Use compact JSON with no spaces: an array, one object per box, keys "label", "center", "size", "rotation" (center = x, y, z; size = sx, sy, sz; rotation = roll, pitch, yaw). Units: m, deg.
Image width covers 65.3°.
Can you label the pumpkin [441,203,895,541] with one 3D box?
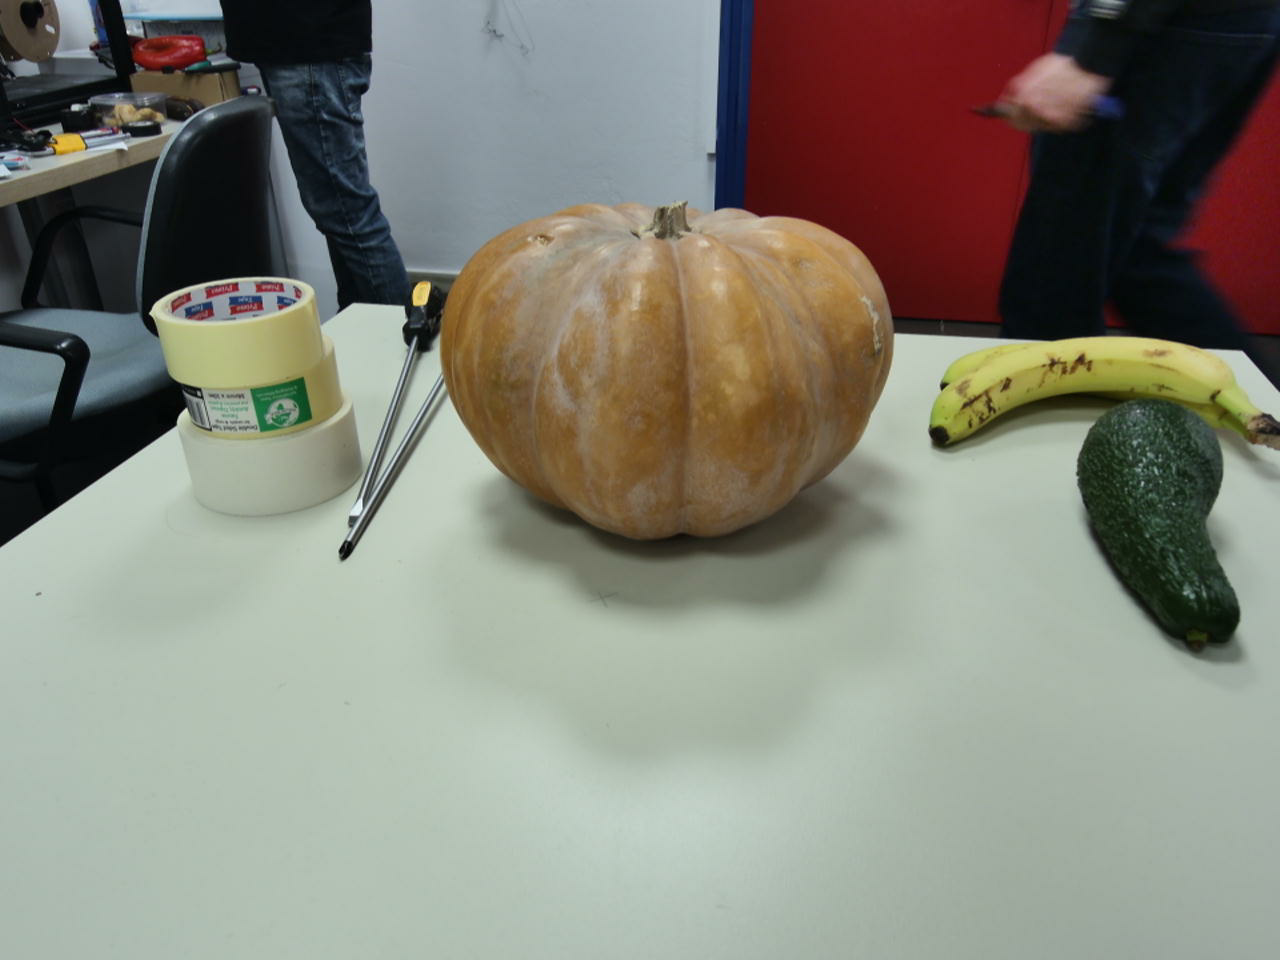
[{"label":"pumpkin","center":[0.014,-0.075,0.604],"size":[0.277,0.181,0.277],"rotation":[0,26,0]}]
